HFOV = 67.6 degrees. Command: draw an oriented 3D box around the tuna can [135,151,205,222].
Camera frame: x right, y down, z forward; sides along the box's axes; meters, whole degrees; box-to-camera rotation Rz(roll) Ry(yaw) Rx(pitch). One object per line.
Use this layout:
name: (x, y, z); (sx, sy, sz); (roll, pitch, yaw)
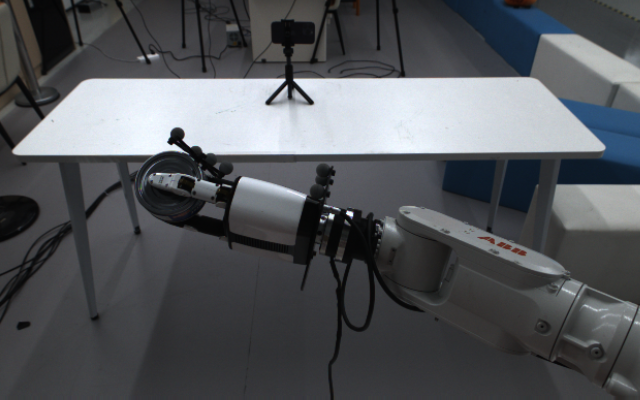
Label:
tuna can: (-0.183, -0.017, 0.605); (0.085, 0.034, 0.085); (0, 74, -1)
